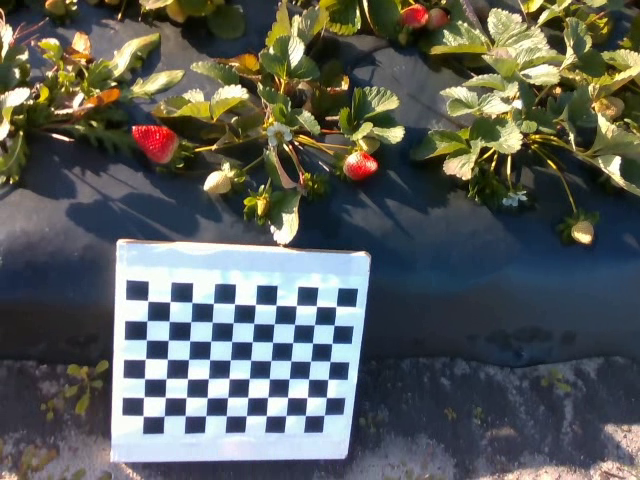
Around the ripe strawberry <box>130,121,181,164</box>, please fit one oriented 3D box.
[{"bbox_3d":[-0.162,-0.099,0.567,0.053,0.044,0.036,29,8,-23],"label":"ripe strawberry"}]

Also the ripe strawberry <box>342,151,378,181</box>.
[{"bbox_3d":[0.044,-0.077,0.597,0.042,0.037,0.045,-23,18,-33],"label":"ripe strawberry"}]
